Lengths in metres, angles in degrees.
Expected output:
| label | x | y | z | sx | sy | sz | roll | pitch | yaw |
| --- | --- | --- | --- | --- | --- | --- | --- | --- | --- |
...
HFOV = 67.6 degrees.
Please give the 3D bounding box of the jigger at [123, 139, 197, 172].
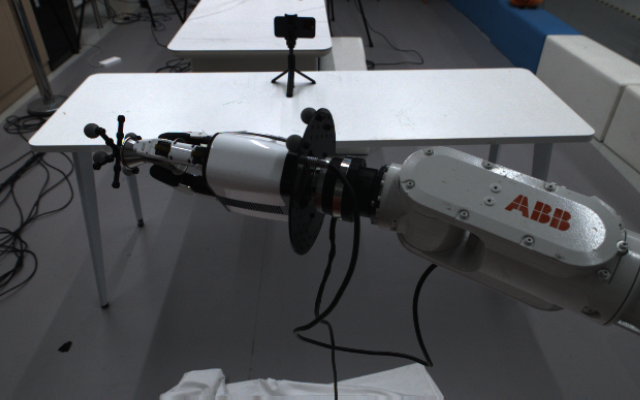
| label | x | y | z | sx | sy | sz | roll | pitch | yaw |
| --- | --- | --- | --- | --- | --- | --- | --- | --- | --- |
| jigger | -0.191 | -0.058 | 0.579 | 0.071 | 0.043 | 0.043 | 4 | 34 | 14 |
